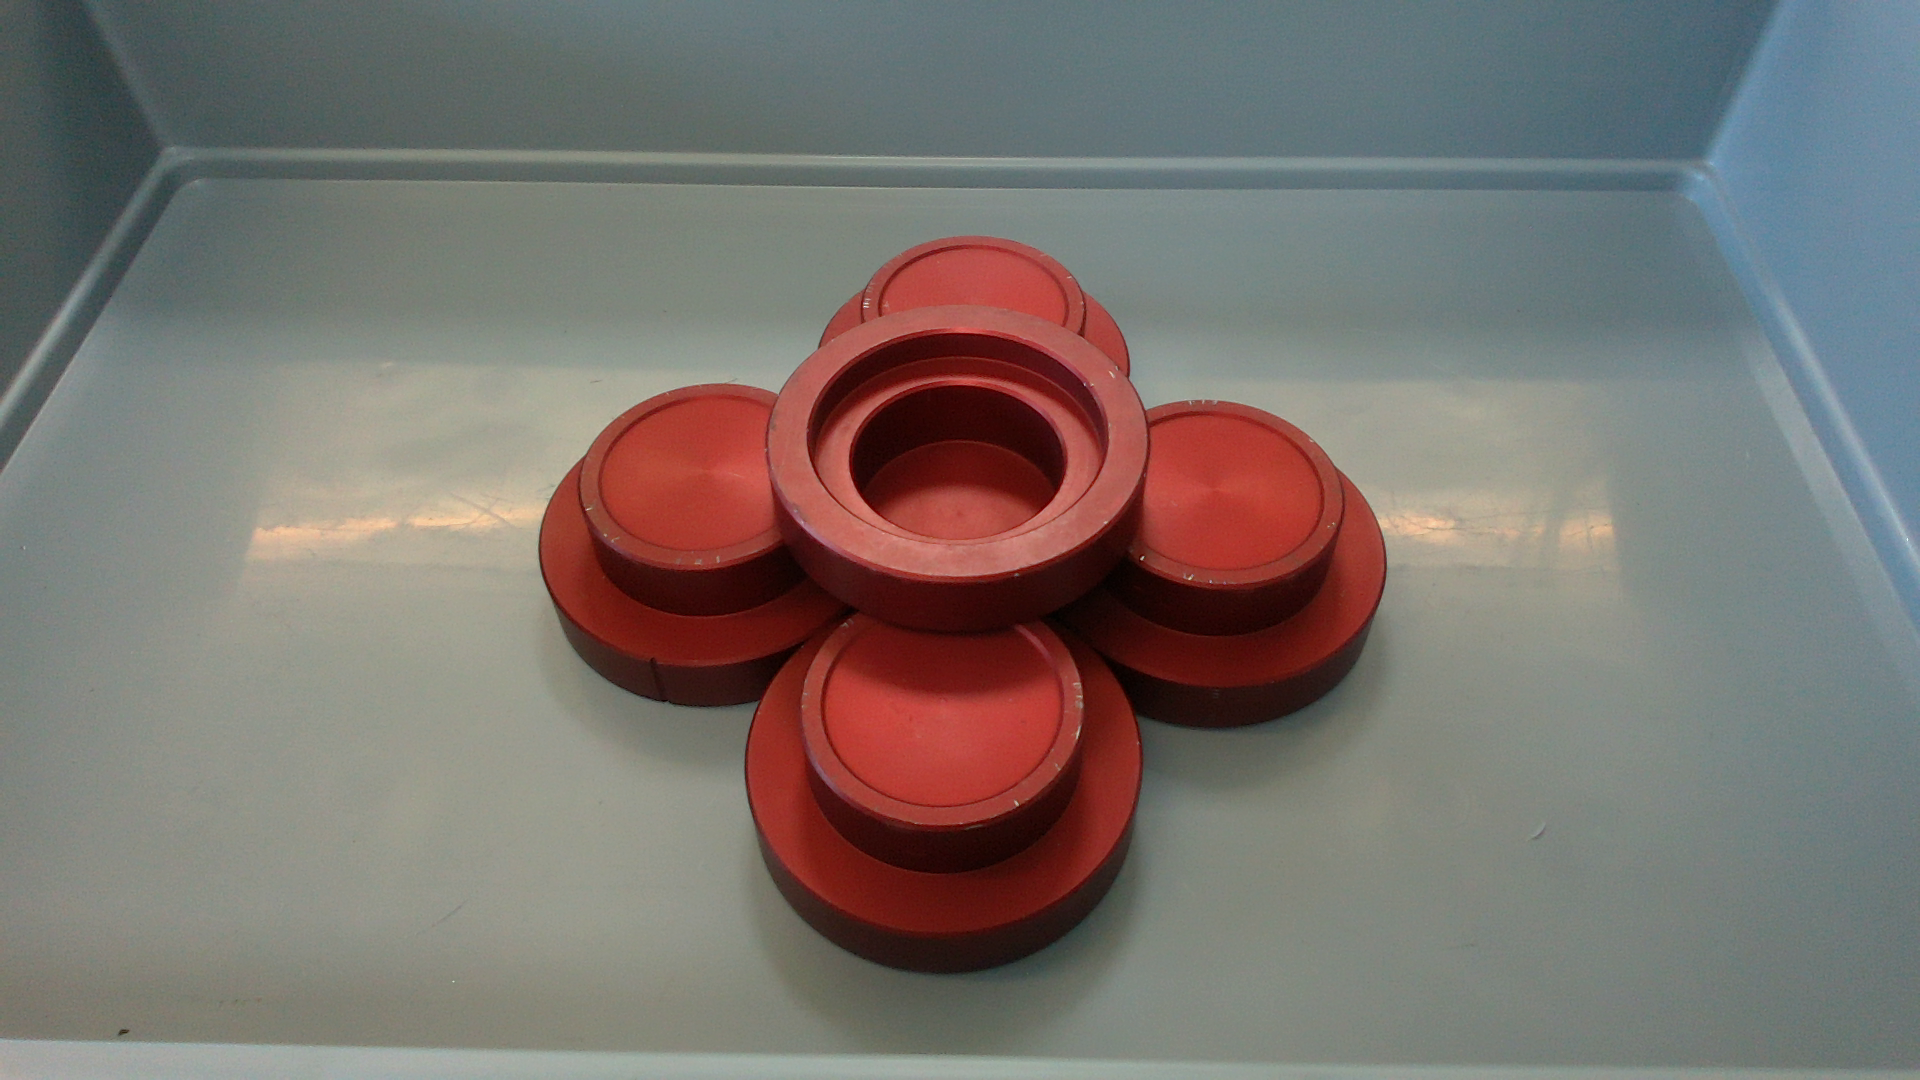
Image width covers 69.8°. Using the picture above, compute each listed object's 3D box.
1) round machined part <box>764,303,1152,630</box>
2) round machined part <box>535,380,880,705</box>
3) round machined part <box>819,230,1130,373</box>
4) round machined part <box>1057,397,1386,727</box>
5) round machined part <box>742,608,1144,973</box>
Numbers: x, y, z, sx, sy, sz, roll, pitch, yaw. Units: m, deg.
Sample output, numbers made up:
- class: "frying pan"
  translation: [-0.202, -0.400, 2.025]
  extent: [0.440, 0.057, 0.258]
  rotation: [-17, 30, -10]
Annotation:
- class: "round machined part"
  translation: [0.000, -0.015, 0.364]
  extent: [0.098, 0.042, 0.098]
  rotation: [0, 50, 0]
- class: "round machined part"
  translation: [-0.069, -0.006, 0.383]
  extent: [0.098, 0.042, 0.098]
  rotation: [0, 50, 0]
- class: "round machined part"
  translation: [0.004, -0.058, 0.426]
  extent: [0.098, 0.042, 0.098]
  rotation: [0, 50, 0]
- class: "round machined part"
  translation: [0.068, -0.001, 0.379]
  extent: [0.098, 0.042, 0.098]
  rotation: [0, 50, 0]
- class: "round machined part"
  translation: [-0.004, 0.050, 0.336]
  extent: [0.098, 0.042, 0.098]
  rotation: [1, 48, -1]
